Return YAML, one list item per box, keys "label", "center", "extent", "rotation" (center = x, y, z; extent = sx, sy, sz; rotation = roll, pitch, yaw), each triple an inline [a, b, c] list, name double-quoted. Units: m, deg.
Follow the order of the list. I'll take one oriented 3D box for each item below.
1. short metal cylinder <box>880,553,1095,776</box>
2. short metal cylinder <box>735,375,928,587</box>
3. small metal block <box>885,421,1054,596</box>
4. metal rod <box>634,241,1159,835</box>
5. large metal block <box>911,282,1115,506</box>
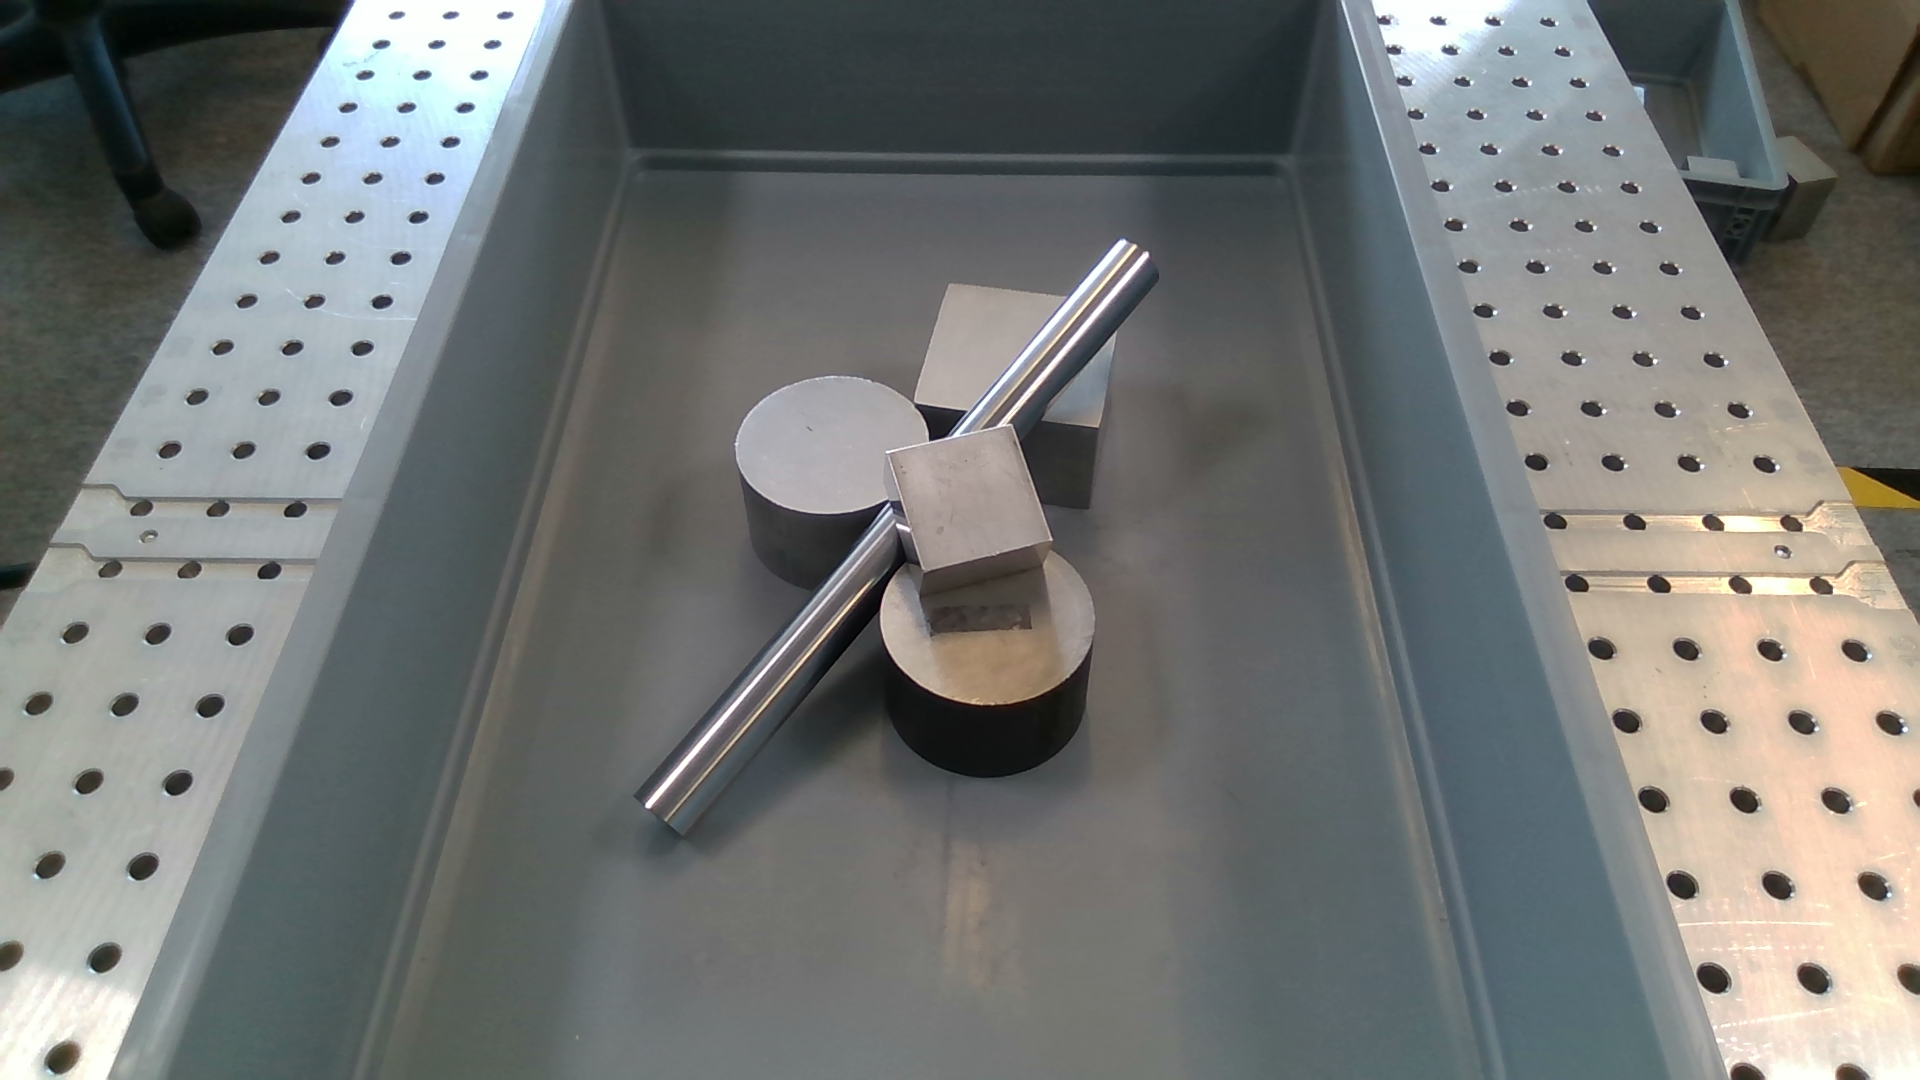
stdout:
- label: "short metal cylinder"
  center: [0.010, 0.044, 0.533]
  extent: [0.080, 0.050, 0.080]
  rotation: [0, 50, 0]
- label: "short metal cylinder"
  center: [-0.053, -0.025, 0.590]
  extent: [0.080, 0.050, 0.080]
  rotation: [0, 50, 0]
- label: "small metal block"
  center: [0.002, -0.012, 0.521]
  extent: [0.050, 0.025, 0.050]
  rotation: [-14, 69, -12]
- label: "metal rod"
  center: [-0.018, -0.009, 0.547]
  extent: [0.025, 0.025, 0.300]
  rotation: [32, 71, 24]
- label: "large metal block"
  center: [0.026, -0.067, 0.623]
  extent: [0.080, 0.050, 0.080]
  rotation: [8, 51, 7]
